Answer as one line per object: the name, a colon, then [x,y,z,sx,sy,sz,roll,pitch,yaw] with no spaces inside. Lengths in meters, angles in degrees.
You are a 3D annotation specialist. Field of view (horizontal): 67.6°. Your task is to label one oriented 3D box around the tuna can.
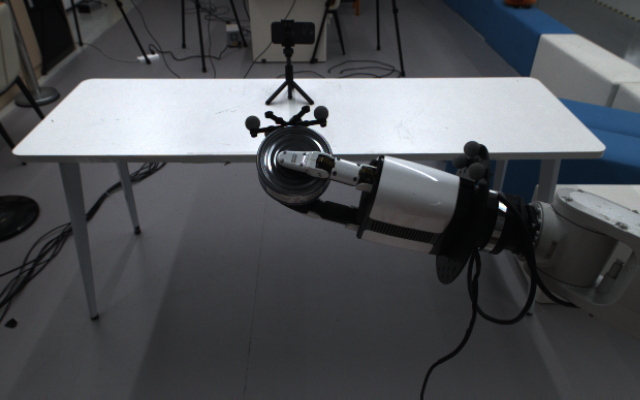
tuna can: [-0.023,-0.034,0.539,0.085,0.034,0.085,0,72,-1]
